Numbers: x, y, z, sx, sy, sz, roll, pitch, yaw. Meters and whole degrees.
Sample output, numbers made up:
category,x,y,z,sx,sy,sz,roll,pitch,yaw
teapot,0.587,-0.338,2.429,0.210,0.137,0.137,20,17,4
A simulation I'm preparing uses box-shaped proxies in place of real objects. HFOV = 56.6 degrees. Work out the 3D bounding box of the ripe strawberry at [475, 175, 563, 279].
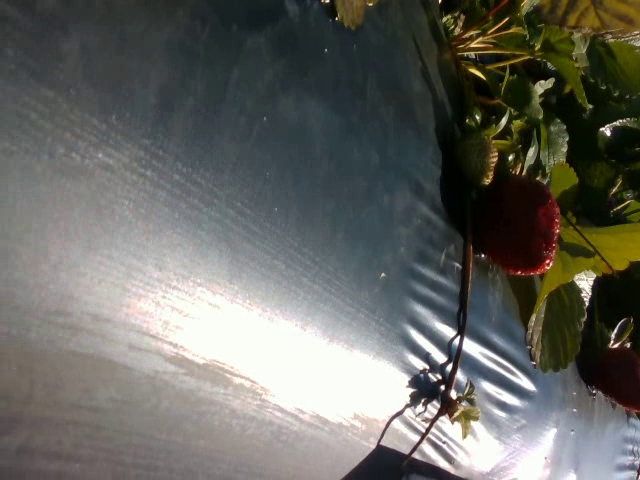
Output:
category,x,y,z,sx,sy,sz,roll,pitch,yaw
ripe strawberry,0.083,-0.004,0.245,0.043,0.053,0.041,-24,-44,12

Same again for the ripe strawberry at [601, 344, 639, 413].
category,x,y,z,sx,sy,sz,roll,pitch,yaw
ripe strawberry,0.198,0.096,0.385,0.043,0.043,0.050,-13,30,-1
